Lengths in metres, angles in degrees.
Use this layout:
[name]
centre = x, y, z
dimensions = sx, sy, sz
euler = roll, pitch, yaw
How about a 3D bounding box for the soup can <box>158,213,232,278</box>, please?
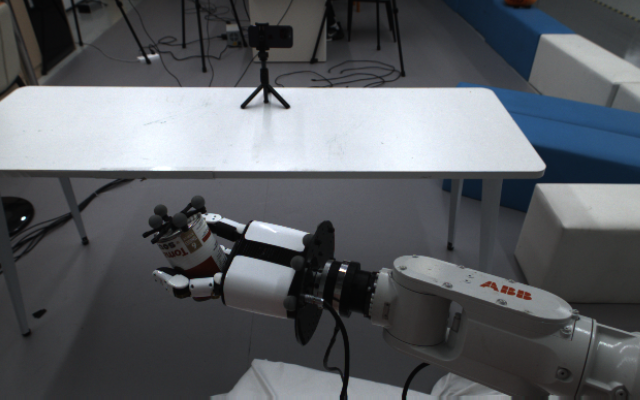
[soup can]
centre = -0.162, 0.075, 0.640
dimensions = 0.067, 0.101, 0.067
euler = -22, 24, 10
